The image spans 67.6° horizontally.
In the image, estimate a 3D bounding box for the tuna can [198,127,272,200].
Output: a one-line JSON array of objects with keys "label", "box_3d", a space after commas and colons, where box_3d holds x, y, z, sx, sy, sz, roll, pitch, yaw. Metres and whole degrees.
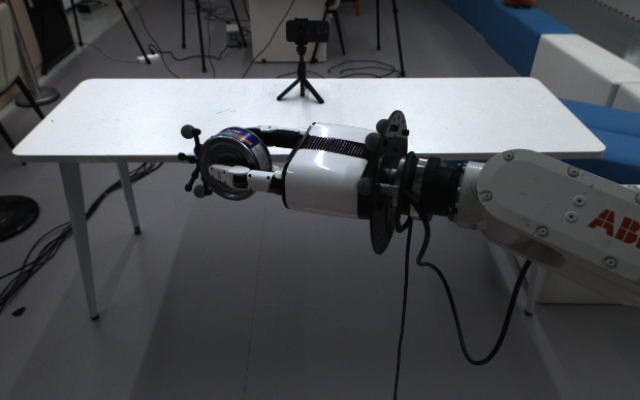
[{"label": "tuna can", "box_3d": [-0.102, -0.046, 0.592, 0.085, 0.085, 0.034, 12, 28, 14]}]
